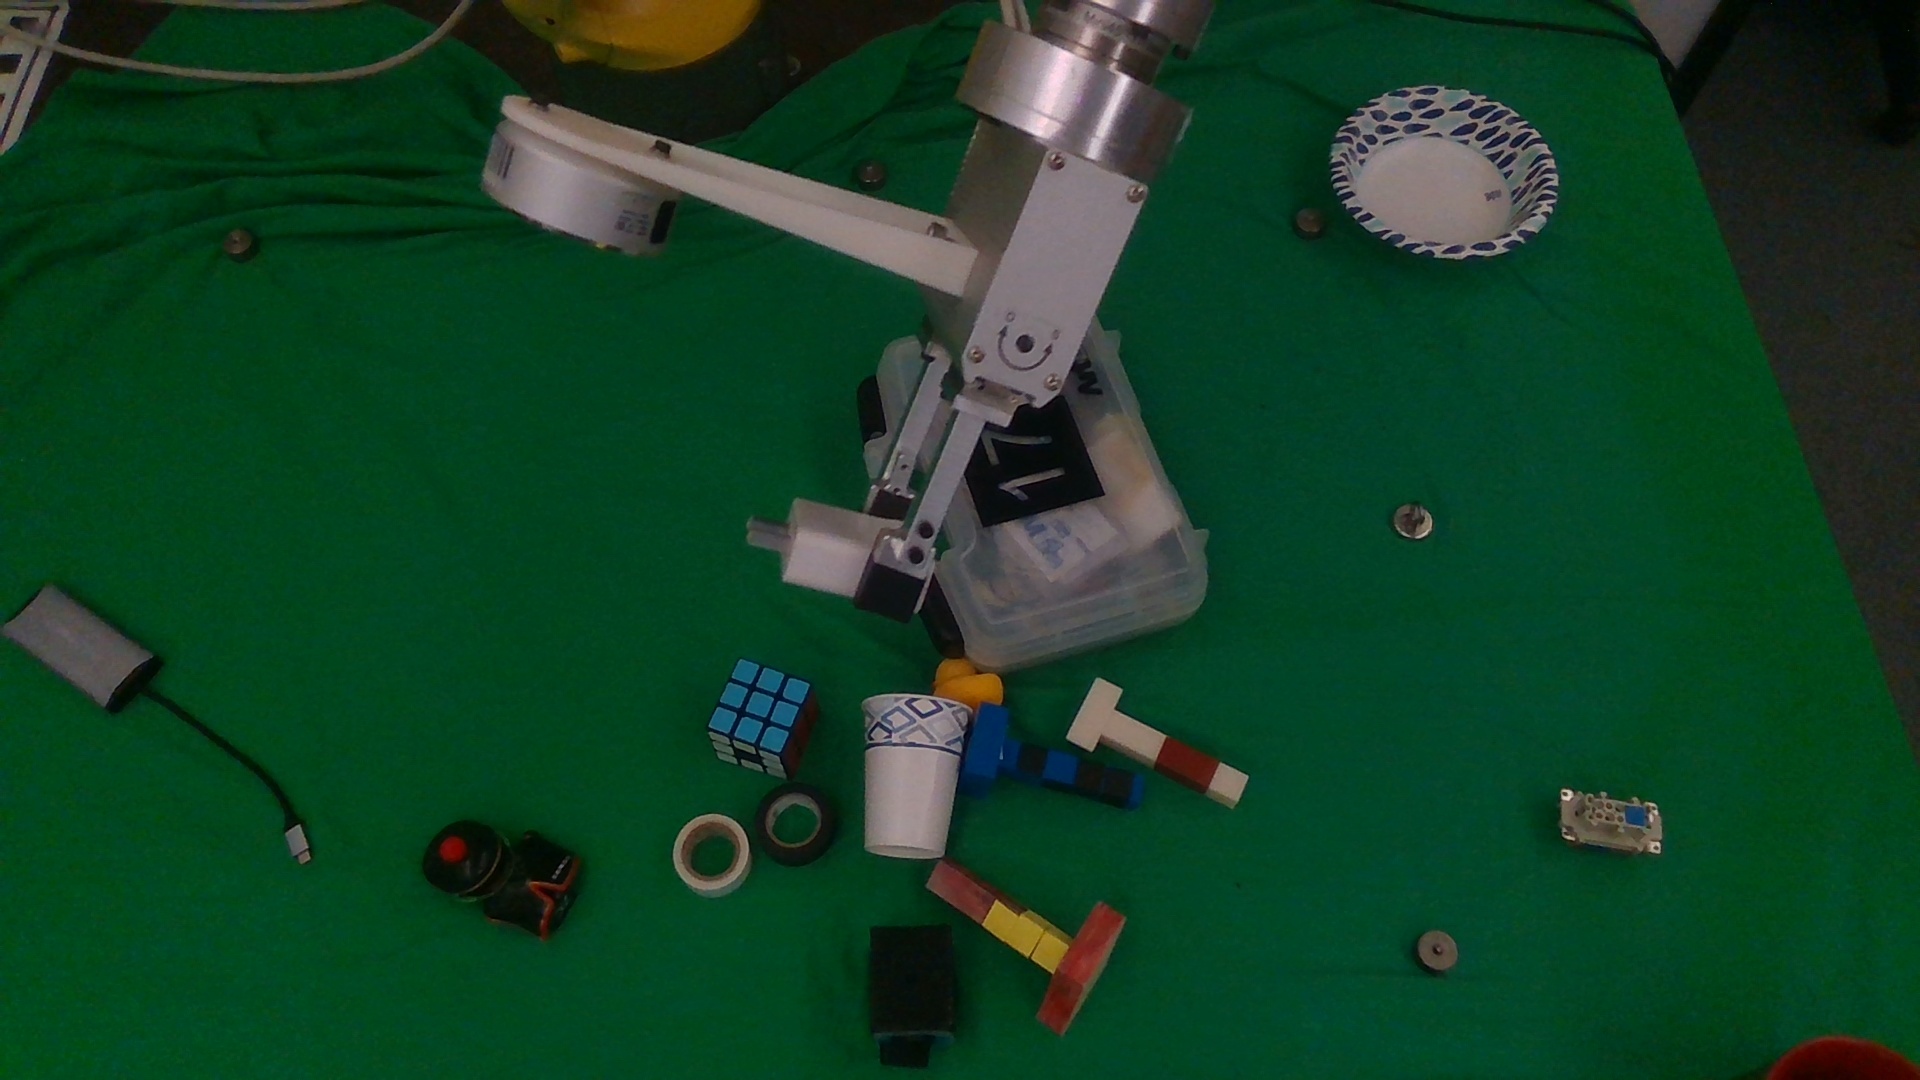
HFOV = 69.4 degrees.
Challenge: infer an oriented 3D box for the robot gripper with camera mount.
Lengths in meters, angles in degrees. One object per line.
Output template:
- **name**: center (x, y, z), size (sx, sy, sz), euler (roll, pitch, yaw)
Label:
- **robot gripper with camera mount**: center (-0.079, -0.073, 0.480), size (0.193, 0.159, 0.119), euler (18, 23, -16)

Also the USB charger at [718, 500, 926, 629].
- **USB charger**: center (-0.054, 0.007, 0.522), size (0.075, 0.029, 0.045), euler (15, 29, -30)
